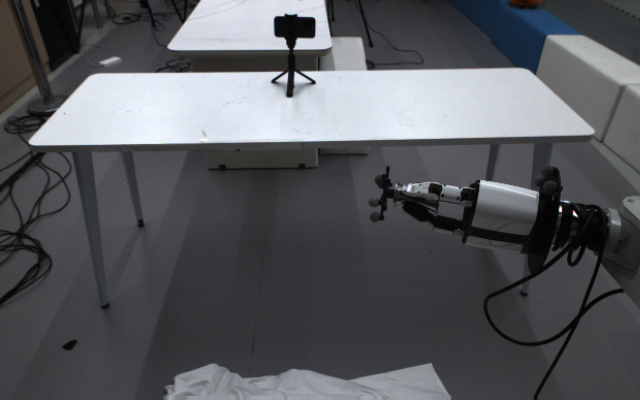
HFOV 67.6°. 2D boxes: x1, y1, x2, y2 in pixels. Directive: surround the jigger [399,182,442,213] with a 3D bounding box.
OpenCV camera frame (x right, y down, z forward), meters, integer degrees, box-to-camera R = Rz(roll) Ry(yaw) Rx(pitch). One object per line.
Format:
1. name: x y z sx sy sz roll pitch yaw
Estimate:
1. jigger: 0.158 -0.010 0.753 0.071 0.043 0.043 8 35 15
